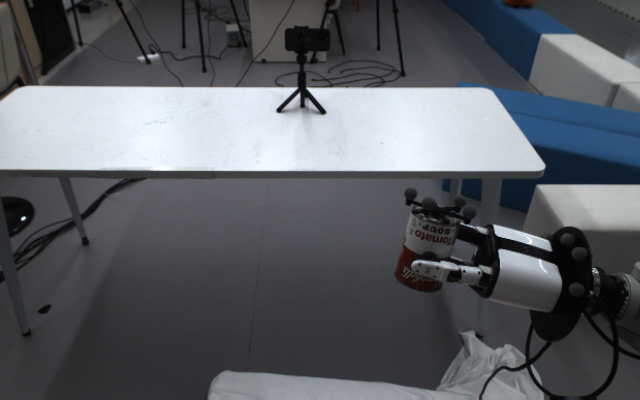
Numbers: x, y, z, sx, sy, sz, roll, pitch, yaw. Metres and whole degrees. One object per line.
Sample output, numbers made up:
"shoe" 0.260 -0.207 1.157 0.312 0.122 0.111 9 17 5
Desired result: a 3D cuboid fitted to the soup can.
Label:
"soup can" 0.148 0.062 0.659 0.067 0.101 0.067 9 20 -3
